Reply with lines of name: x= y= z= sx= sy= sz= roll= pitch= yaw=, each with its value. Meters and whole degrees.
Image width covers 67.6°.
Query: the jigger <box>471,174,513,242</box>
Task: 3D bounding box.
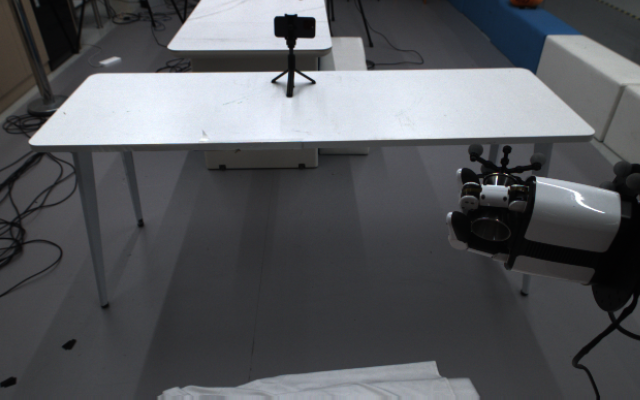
jigger: x=0.203 y=0.006 z=0.553 sx=0.043 sy=0.043 sz=0.071 roll=13 pitch=58 yaw=15
